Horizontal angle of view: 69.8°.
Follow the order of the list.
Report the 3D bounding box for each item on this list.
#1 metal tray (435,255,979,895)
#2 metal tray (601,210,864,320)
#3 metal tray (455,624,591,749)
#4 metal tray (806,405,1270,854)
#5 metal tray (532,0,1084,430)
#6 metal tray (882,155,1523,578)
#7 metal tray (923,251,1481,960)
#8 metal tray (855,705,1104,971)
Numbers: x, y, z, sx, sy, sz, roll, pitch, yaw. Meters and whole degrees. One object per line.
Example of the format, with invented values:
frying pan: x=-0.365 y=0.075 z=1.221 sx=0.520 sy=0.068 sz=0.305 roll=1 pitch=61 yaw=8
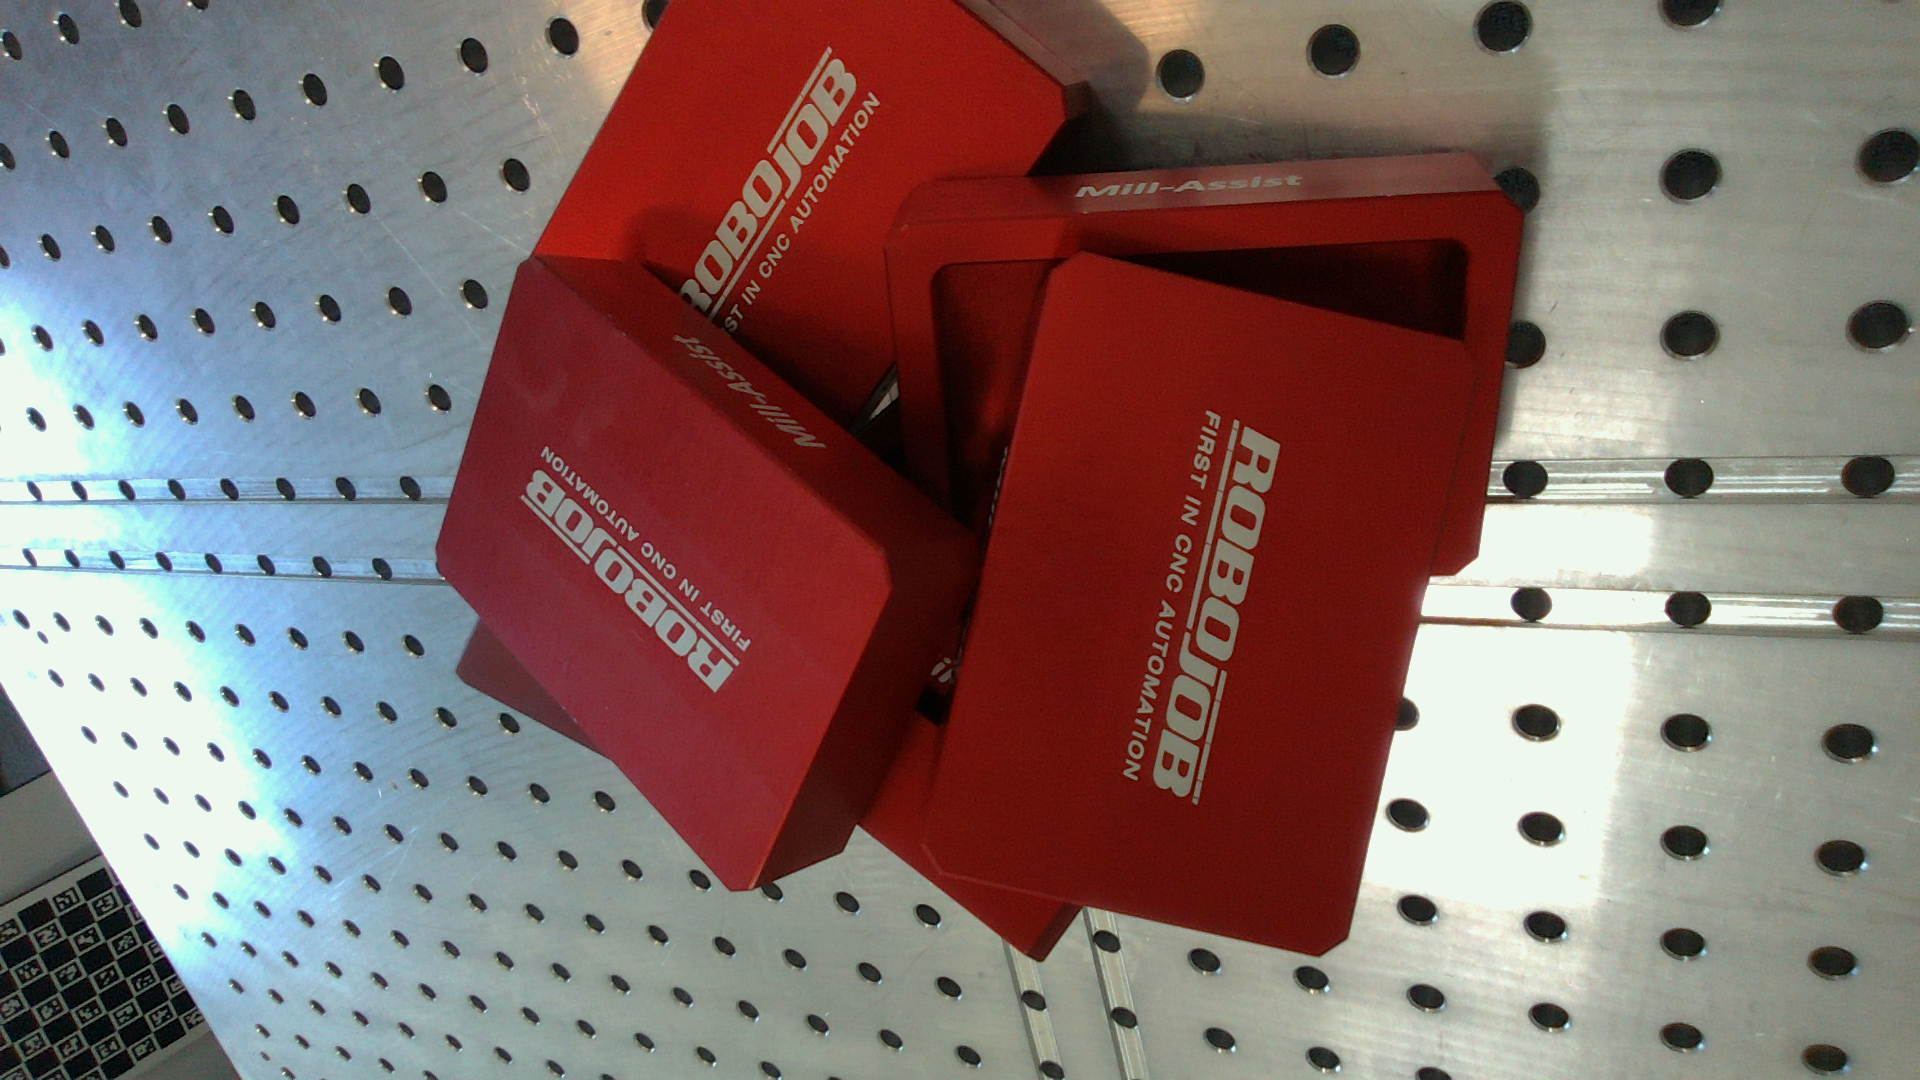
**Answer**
metal tray: x=-0.065 y=0.004 z=0.316 sx=0.130 sy=0.030 sz=0.090 roll=39 pitch=118 yaw=27
metal tray: x=-0.086 y=-0.034 z=0.417 sx=0.090 sy=0.030 sz=0.130 roll=33 pitch=129 yaw=6
metal tray: x=-0.101 y=0.029 z=0.436 sx=0.090 sy=0.030 sz=0.130 roll=31 pitch=142 yaw=-12
metal tray: x=0.027 y=0.015 z=0.350 sx=0.130 sy=0.090 sz=0.030 roll=39 pitch=130 yaw=3
metal tray: x=-0.043 y=-0.083 z=0.340 sx=0.090 sy=0.030 sz=0.130 roll=39 pitch=115 yaw=-1
metal tray: x=0.052 y=-0.036 z=0.314 sx=0.130 sy=0.030 sz=0.090 roll=-1 pitch=120 yaw=6
metal tray: x=0.049 y=0.014 z=0.293 sx=0.090 sy=0.030 sz=0.130 roll=13 pitch=91 yaw=-4
metal tray: x=-0.007 y=0.066 z=0.380 sx=0.090 sy=0.130 sz=0.030 roll=37 pitch=87 yaw=3
